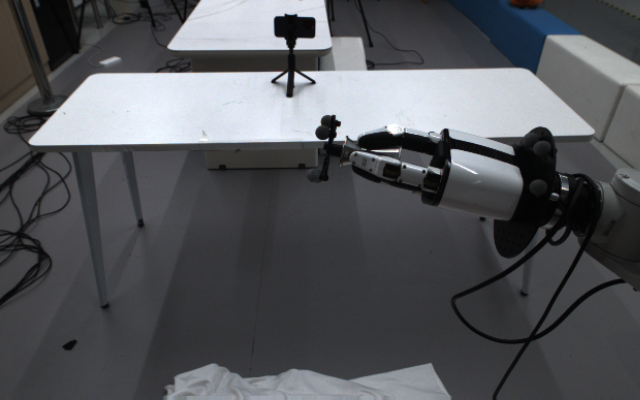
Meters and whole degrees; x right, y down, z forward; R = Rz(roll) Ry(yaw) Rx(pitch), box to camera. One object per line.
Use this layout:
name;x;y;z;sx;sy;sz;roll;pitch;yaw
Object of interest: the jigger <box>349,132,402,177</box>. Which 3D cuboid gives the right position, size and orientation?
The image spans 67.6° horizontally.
jigger;0.067;-0.054;0.585;0.071;0.043;0.043;12;36;5
